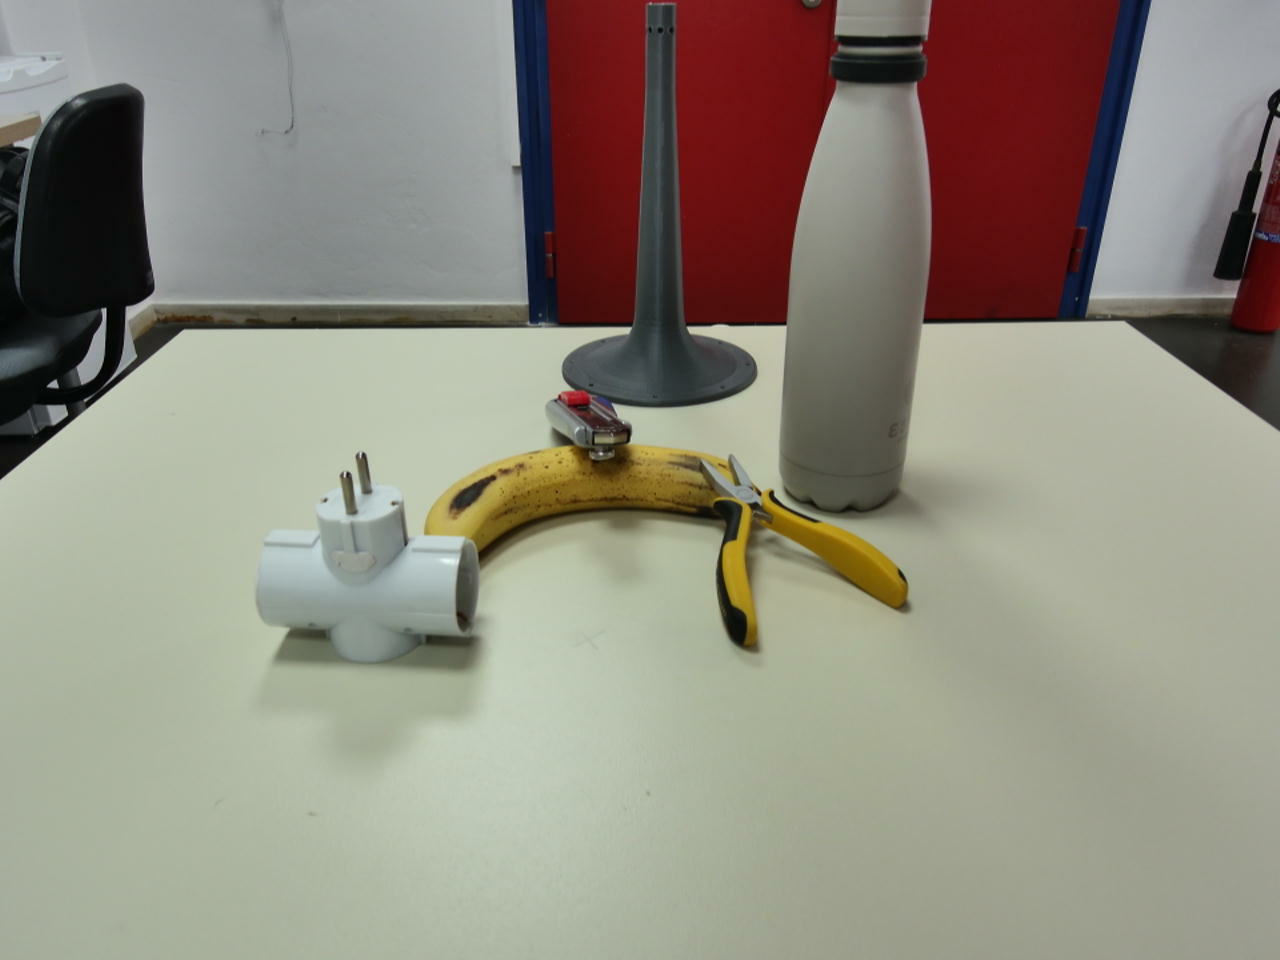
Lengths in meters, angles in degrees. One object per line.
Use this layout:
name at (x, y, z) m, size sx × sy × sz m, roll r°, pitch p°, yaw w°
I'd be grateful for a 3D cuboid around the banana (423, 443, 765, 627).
banana at (-0.033, 0.013, 0.539) m, size 0.186 × 0.038 × 0.097 m, roll -13°, pitch 29°, yaw -25°
